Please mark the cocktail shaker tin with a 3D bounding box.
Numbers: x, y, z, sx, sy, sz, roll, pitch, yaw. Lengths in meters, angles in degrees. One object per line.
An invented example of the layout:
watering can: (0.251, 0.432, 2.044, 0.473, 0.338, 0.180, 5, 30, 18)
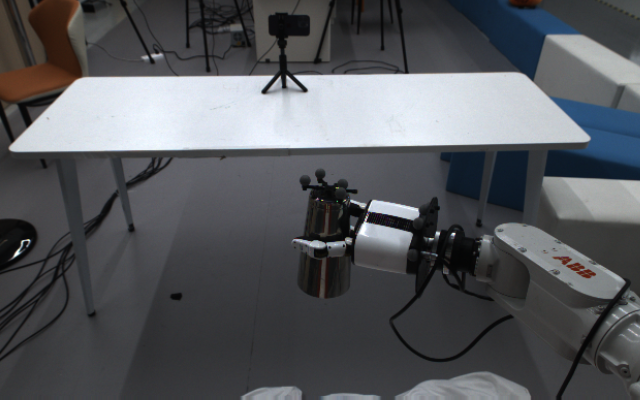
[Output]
cocktail shaker tin: (0.011, 0.065, 0.802, 0.093, 0.170, 0.093, 2, 26, -1)
